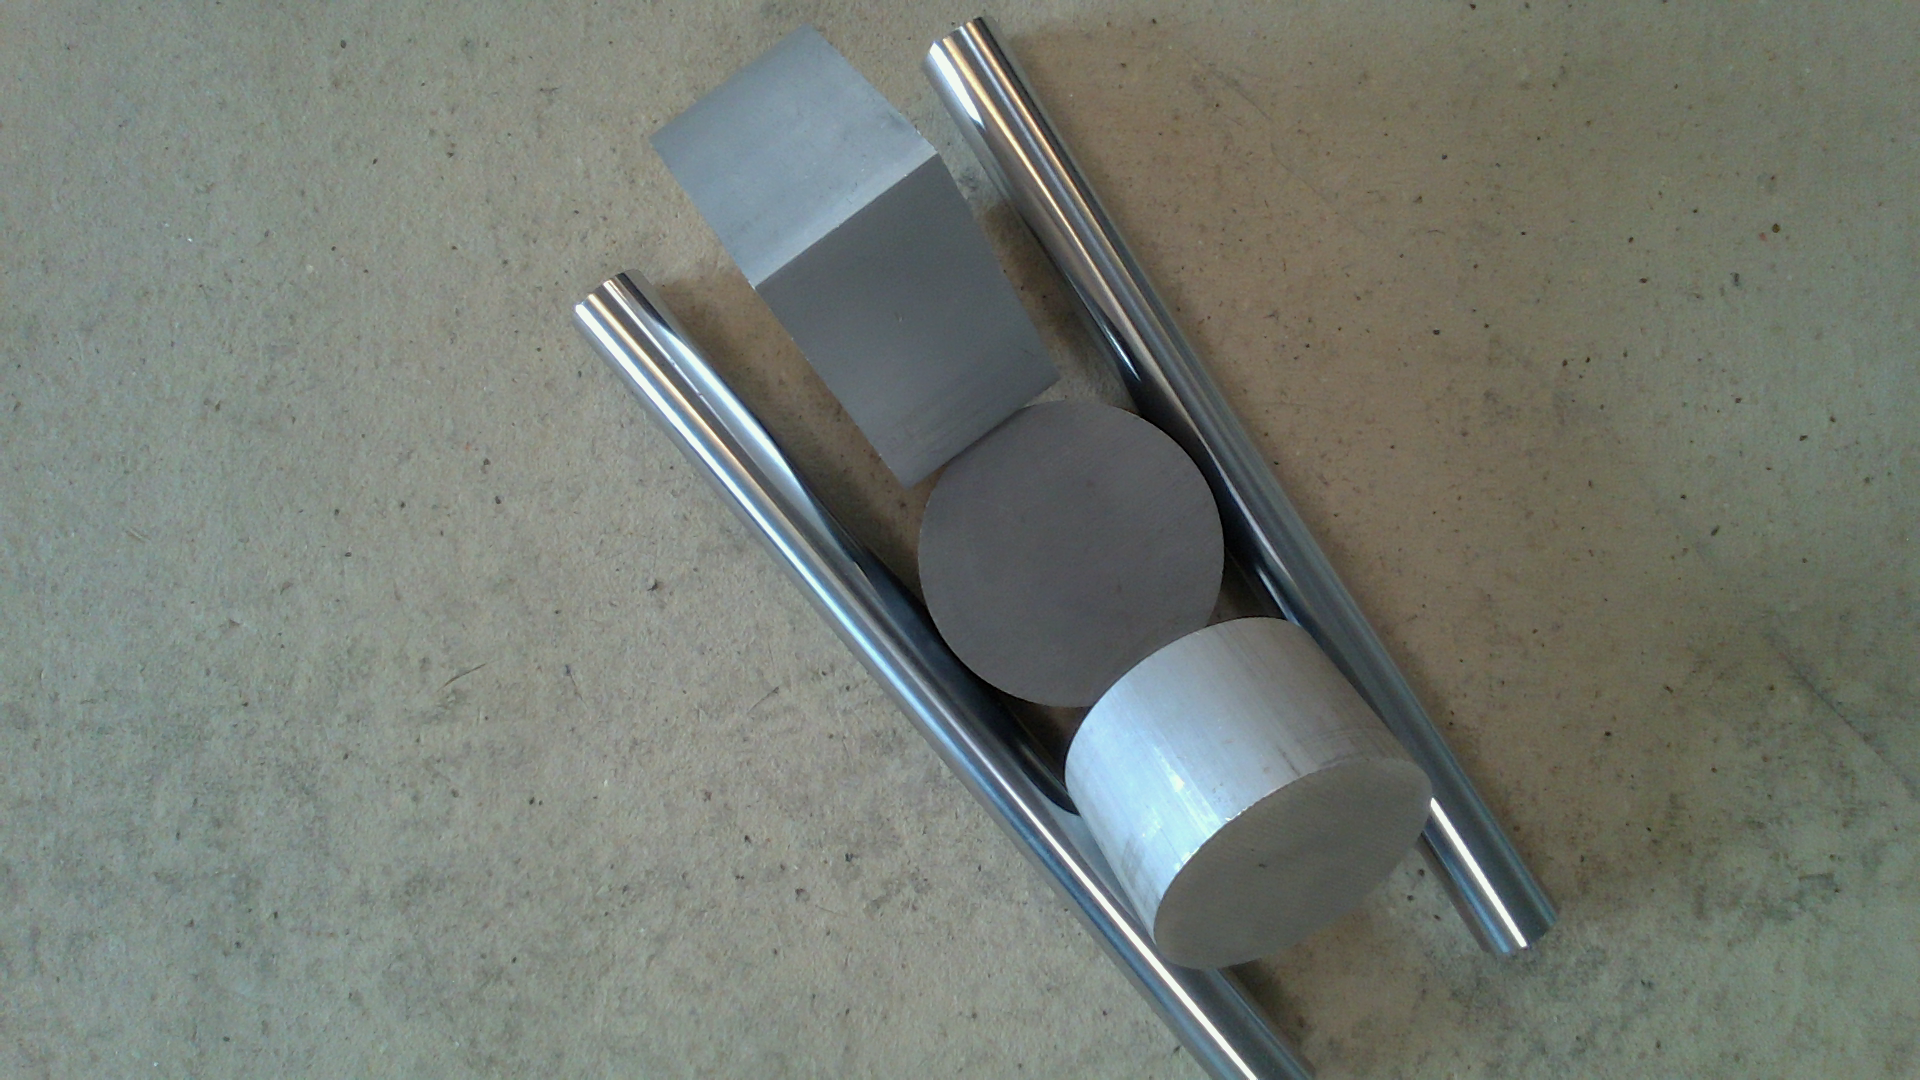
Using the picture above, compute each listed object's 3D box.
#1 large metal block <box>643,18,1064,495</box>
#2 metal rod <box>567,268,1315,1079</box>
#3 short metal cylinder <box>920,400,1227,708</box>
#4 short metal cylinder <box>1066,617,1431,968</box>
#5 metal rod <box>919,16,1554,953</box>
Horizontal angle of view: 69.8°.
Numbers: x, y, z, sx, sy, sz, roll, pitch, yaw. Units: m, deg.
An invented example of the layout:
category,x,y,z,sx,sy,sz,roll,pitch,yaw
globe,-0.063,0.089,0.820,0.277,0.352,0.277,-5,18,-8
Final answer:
category,x,y,z,sx,sy,sz,roll,pitch,yaw
large metal block,-0.027,-0.072,0.352,0.050,0.080,0.080,-36,49,0
metal rod,-0.005,0.045,0.395,0.025,0.025,0.300,-40,90,0
short metal cylinder,0.030,0.004,0.383,0.080,0.050,0.080,0,90,0
short metal cylinder,0.075,0.067,0.362,0.080,0.080,0.050,-32,48,0
metal rod,0.079,-0.015,0.395,0.025,0.025,0.300,-32,90,0
